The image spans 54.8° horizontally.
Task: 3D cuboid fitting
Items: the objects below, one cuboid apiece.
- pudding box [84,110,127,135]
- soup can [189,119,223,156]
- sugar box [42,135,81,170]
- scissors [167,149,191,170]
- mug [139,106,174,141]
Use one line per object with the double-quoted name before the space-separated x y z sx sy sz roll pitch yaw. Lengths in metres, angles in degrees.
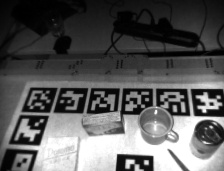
"pudding box" -0.017 0.105 0.620 0.114 0.090 0.038 -9 62 2
"soup can" 0.242 0.138 0.569 0.068 0.103 0.067 -4 55 7
"sugar box" -0.141 0.228 0.592 0.092 0.046 0.175 -3 58 8
"scissors" 0.217 0.237 0.548 0.088 0.016 0.200 -41 61 -7
"mug" 0.132 0.107 0.607 0.093 0.082 0.116 -32 57 -9
